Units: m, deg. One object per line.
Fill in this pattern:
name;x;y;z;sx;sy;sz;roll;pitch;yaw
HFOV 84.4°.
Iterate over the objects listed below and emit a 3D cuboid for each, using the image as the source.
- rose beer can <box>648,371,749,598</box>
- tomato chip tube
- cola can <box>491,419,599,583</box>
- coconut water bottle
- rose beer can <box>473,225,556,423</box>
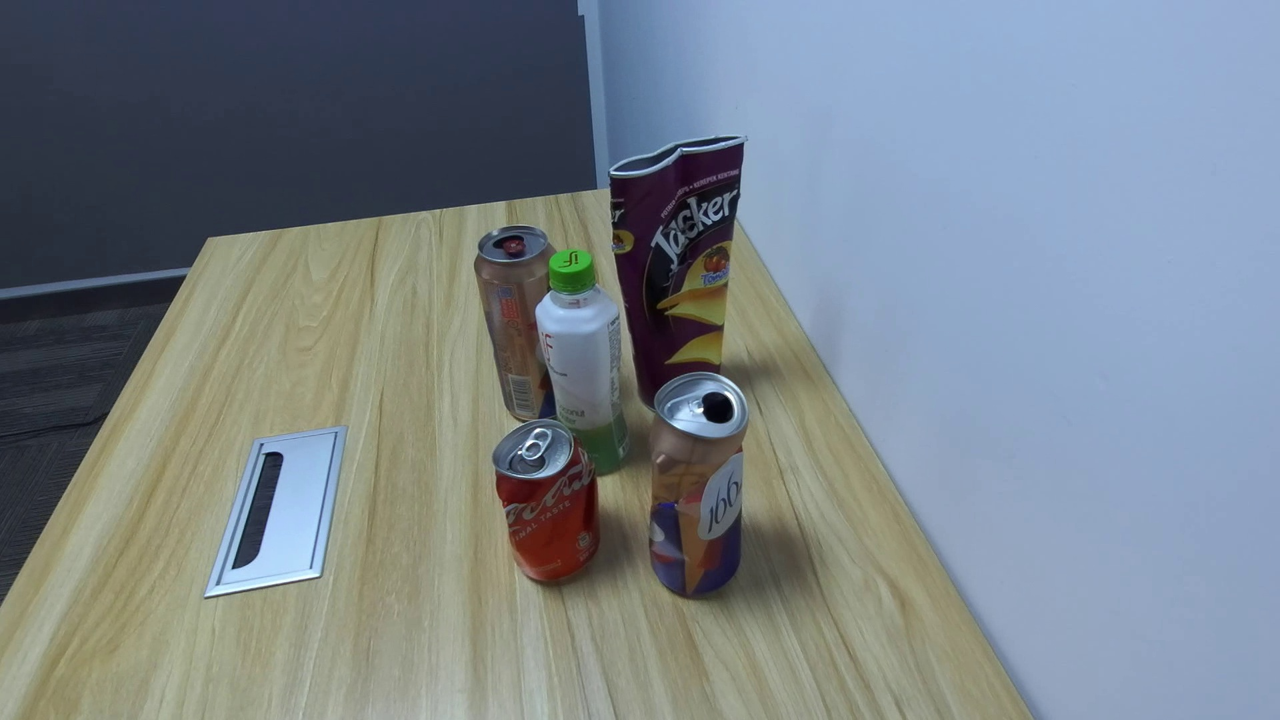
rose beer can;0.037;0.085;0.465;0.068;0.162;0.073;-7;41;-5
tomato chip tube;0.030;-0.059;0.580;0.090;0.236;0.078;8;41;10
cola can;-0.064;0.099;0.497;0.069;0.113;0.065;-20;42;-18
coconut water bottle;-0.043;0.005;0.540;0.063;0.189;0.063;-2;37;2
rose beer can;-0.094;-0.026;0.603;0.068;0.169;0.068;-3;37;2
